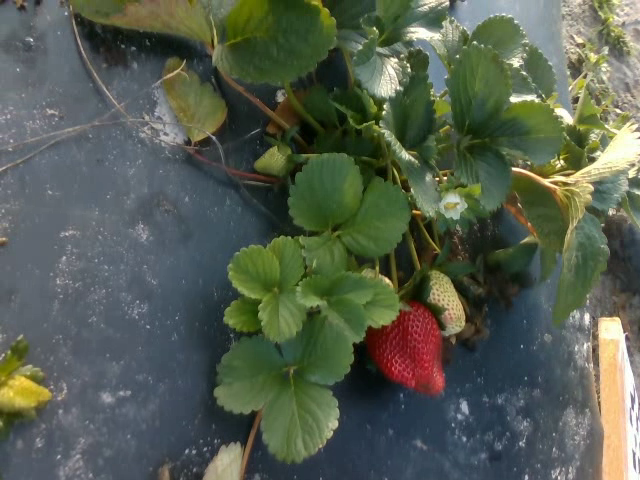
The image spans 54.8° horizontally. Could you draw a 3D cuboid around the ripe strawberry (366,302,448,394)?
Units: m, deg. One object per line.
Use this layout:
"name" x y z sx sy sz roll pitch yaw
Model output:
"ripe strawberry" 0.059 0.074 0.393 0.057 0.058 0.071 -22 31 8
